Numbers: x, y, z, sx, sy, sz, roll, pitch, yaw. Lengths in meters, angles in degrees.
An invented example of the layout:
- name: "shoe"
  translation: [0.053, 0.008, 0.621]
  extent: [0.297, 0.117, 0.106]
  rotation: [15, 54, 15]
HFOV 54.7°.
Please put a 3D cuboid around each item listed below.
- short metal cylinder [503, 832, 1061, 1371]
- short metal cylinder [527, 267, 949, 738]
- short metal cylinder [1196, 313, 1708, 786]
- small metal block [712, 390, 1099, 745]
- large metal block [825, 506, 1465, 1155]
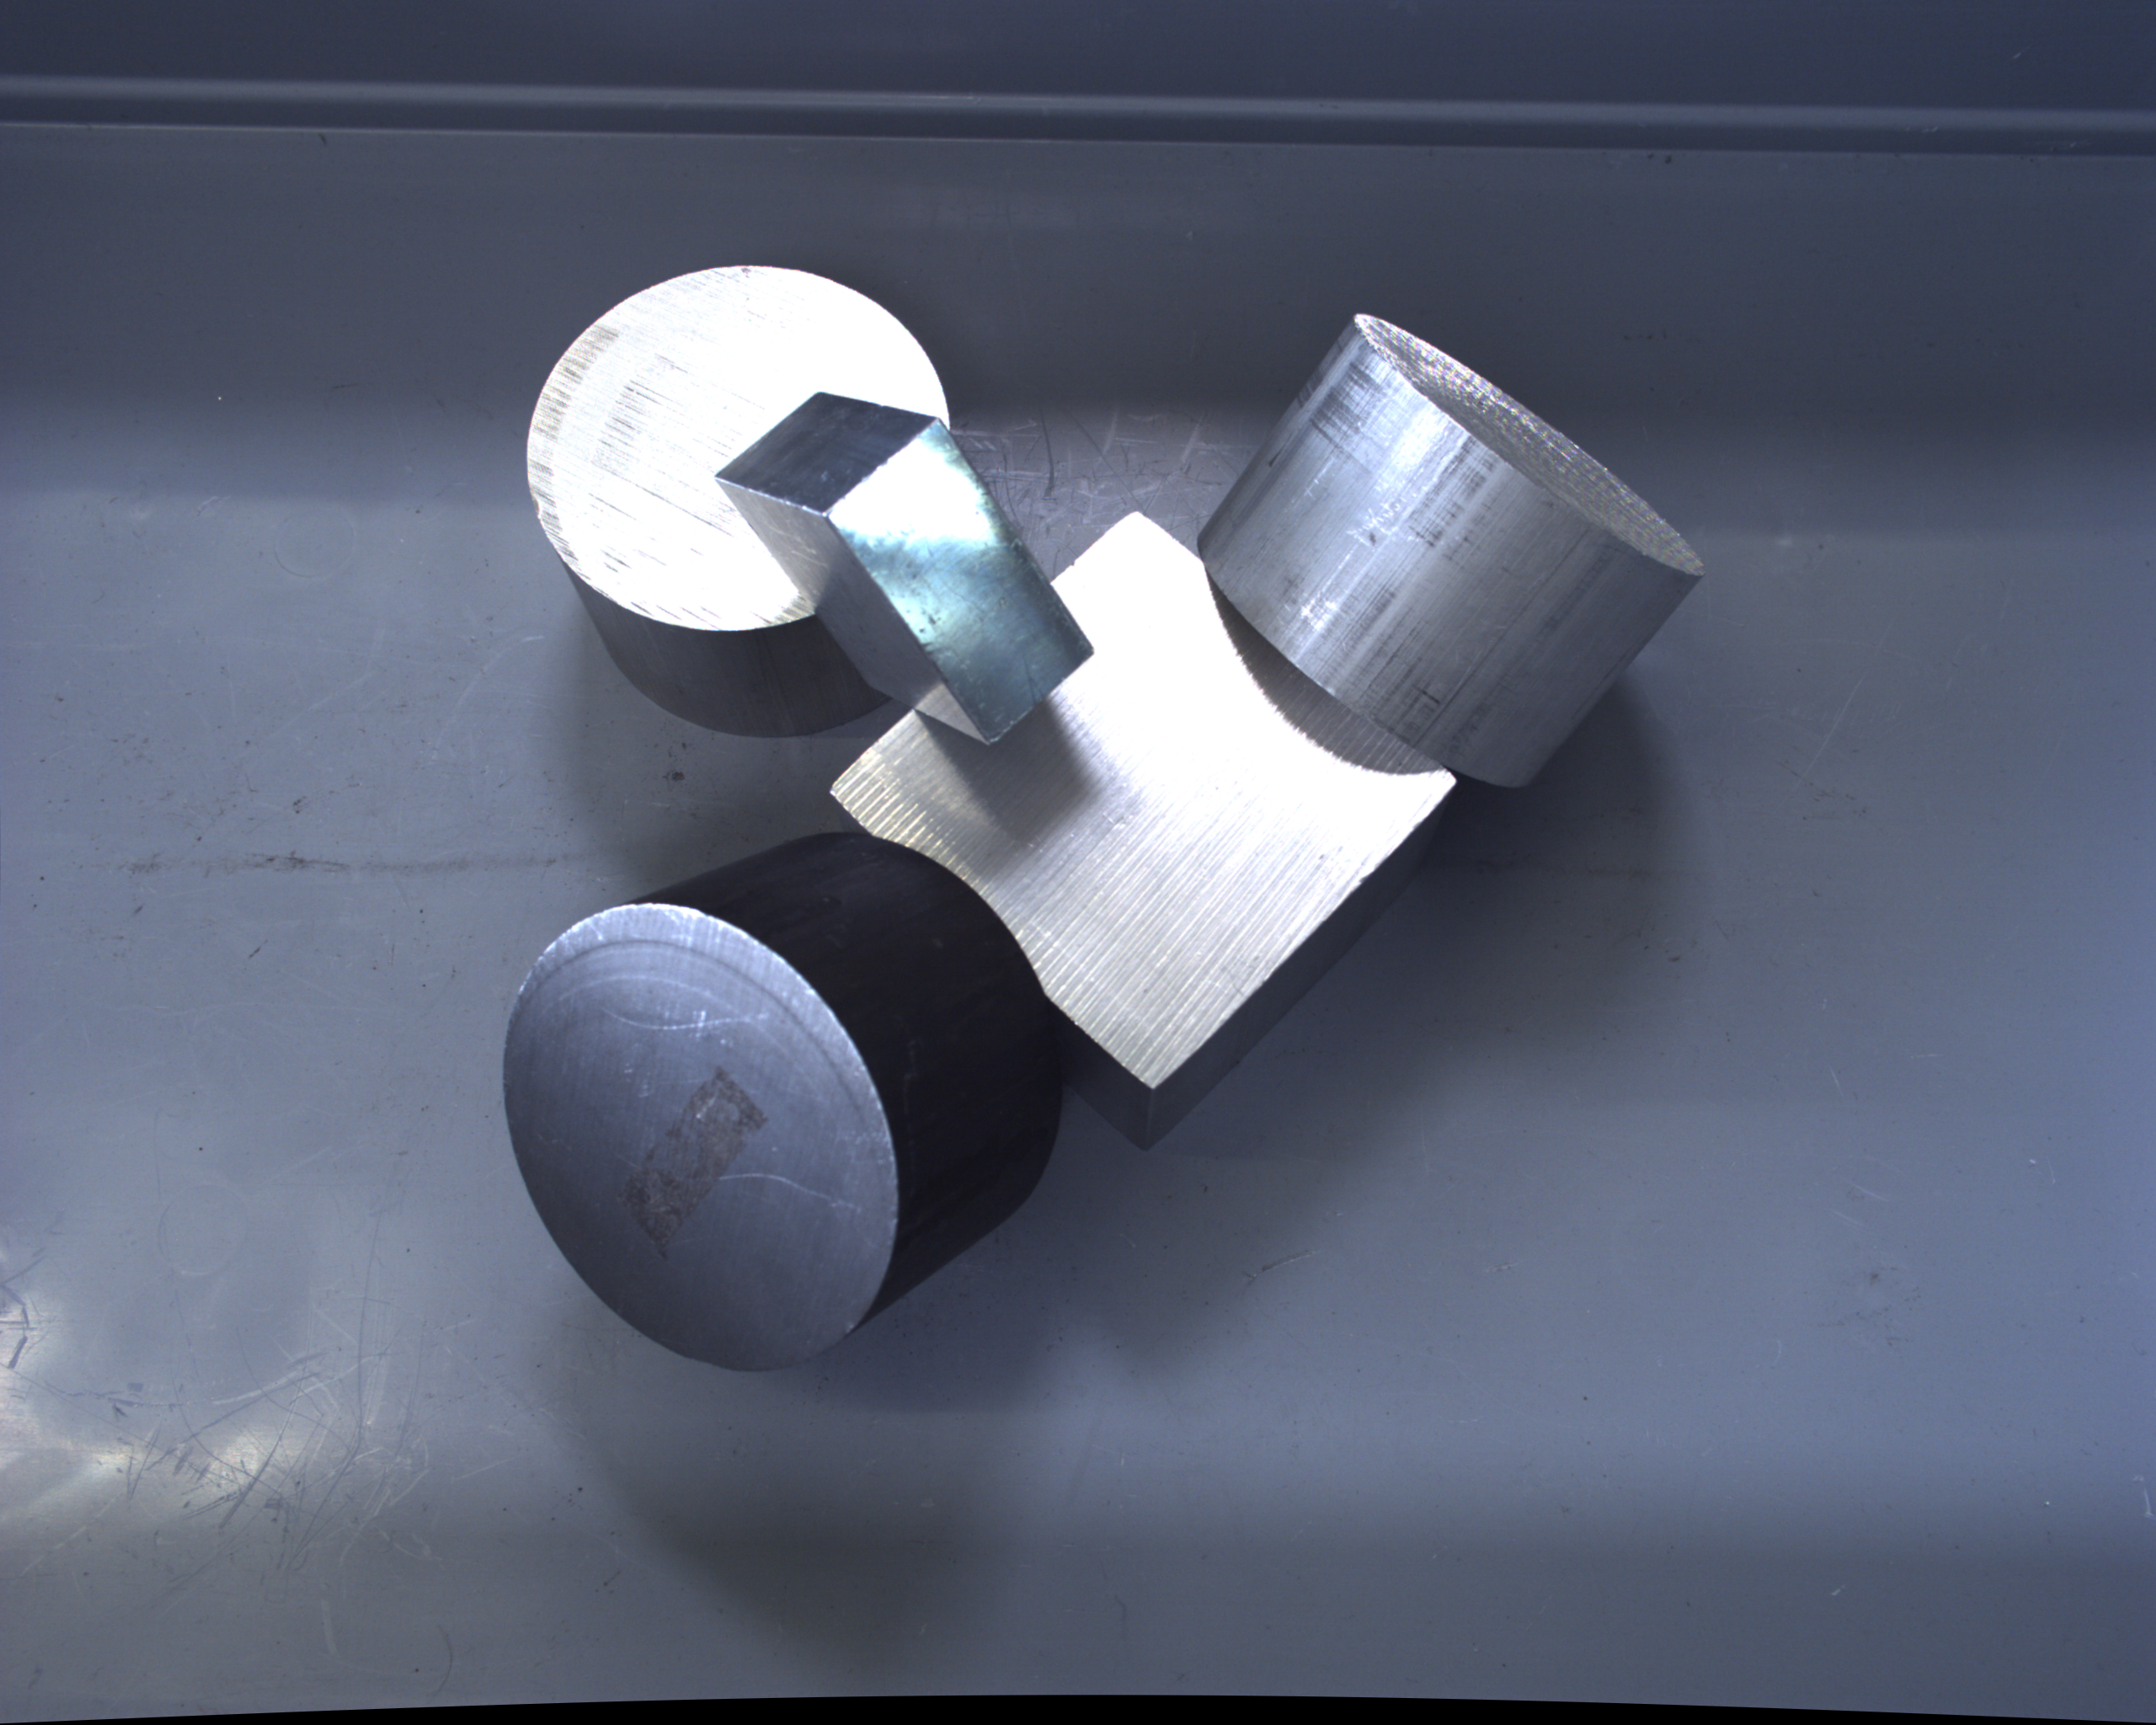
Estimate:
- name: "short metal cylinder"
  translation: [-0.050, 0.039, 0.358]
  extent: [0.080, 0.050, 0.079]
  rotation: [9, 108, 28]
- name: "short metal cylinder"
  translation: [-0.064, -0.072, 0.421]
  extent: [0.081, 0.050, 0.080]
  rotation: [0, 70, 0]
- name: "short metal cylinder"
  translation: [0.070, -0.059, 0.393]
  extent: [0.080, 0.080, 0.050]
  rotation: [41, 114, 13]
- name: "small metal block"
  translation: [-0.030, -0.052, 0.361]
  extent: [0.025, 0.050, 0.050]
  rotation: [-43, 32, -12]
- name: "large metal block"
  translation: [0.012, -0.005, 0.394]
  extent: [0.080, 0.050, 0.080]
  rotation: [43, 75, 14]
